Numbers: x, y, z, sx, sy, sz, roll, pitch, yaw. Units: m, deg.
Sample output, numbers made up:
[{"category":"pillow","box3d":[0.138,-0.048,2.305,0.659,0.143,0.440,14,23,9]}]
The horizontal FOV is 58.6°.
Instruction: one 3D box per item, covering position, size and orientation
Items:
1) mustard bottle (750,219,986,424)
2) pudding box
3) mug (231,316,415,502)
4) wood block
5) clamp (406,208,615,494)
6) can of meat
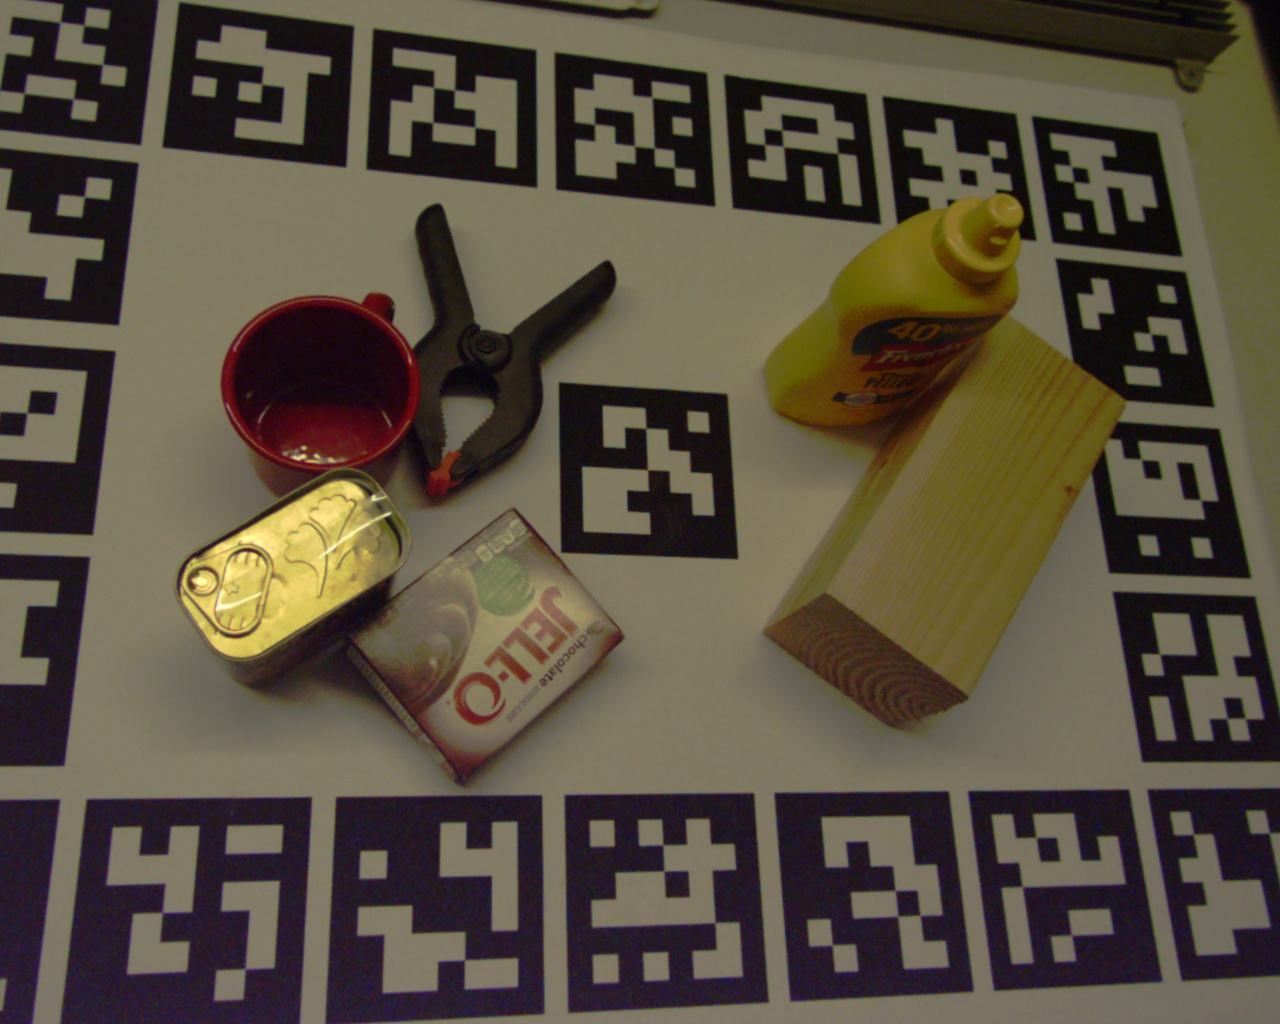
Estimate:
[{"category":"mustard bottle","box3d":[0.136,-0.107,0.636,0.095,0.192,0.058,-3,74,-15]},{"category":"pudding box","box3d":[-0.079,0.072,0.610,0.113,0.039,0.090,-40,86,-23]},{"category":"mug","box3d":[-0.168,-0.054,0.630,0.093,0.082,0.117,23,70,-6]},{"category":"wood block","box3d":[0.166,0.009,0.666,0.090,0.091,0.205,36,66,1]},{"category":"clamp","box3d":[-0.092,-0.088,0.665,0.121,0.037,0.165,21,71,-8]},{"category":"can of meat","box3d":[-0.168,0.040,0.569,0.101,0.084,0.058,-30,83,-21]}]
